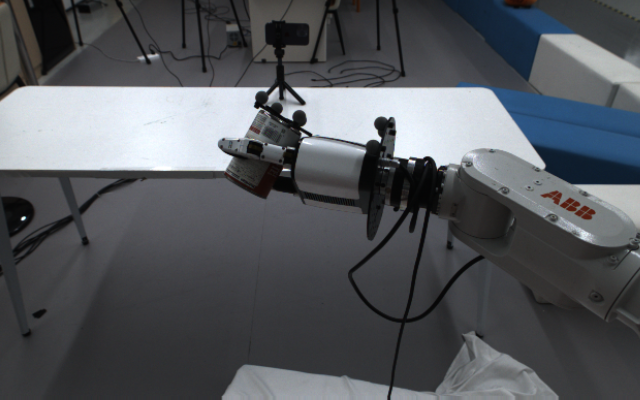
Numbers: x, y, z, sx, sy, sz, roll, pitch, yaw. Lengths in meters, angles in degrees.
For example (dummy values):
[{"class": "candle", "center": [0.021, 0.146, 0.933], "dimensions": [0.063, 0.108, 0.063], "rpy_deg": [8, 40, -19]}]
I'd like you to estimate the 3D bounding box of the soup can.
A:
[{"class": "soup can", "center": [-0.077, -0.061, 0.655], "dimensions": [0.067, 0.101, 0.067], "rpy_deg": [30, 2, -1]}]
